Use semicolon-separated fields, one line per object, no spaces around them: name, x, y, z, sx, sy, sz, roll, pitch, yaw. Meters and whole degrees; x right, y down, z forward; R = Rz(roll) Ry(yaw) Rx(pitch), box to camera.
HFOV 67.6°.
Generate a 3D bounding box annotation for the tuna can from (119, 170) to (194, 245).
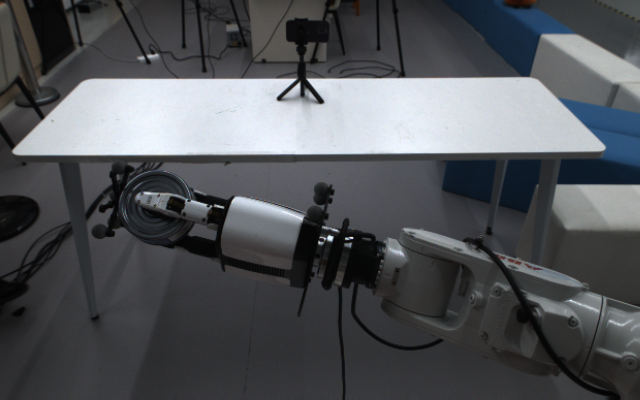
tuna can;-0.187;0.013;0.567;0.085;0.034;0.085;1;74;-4
